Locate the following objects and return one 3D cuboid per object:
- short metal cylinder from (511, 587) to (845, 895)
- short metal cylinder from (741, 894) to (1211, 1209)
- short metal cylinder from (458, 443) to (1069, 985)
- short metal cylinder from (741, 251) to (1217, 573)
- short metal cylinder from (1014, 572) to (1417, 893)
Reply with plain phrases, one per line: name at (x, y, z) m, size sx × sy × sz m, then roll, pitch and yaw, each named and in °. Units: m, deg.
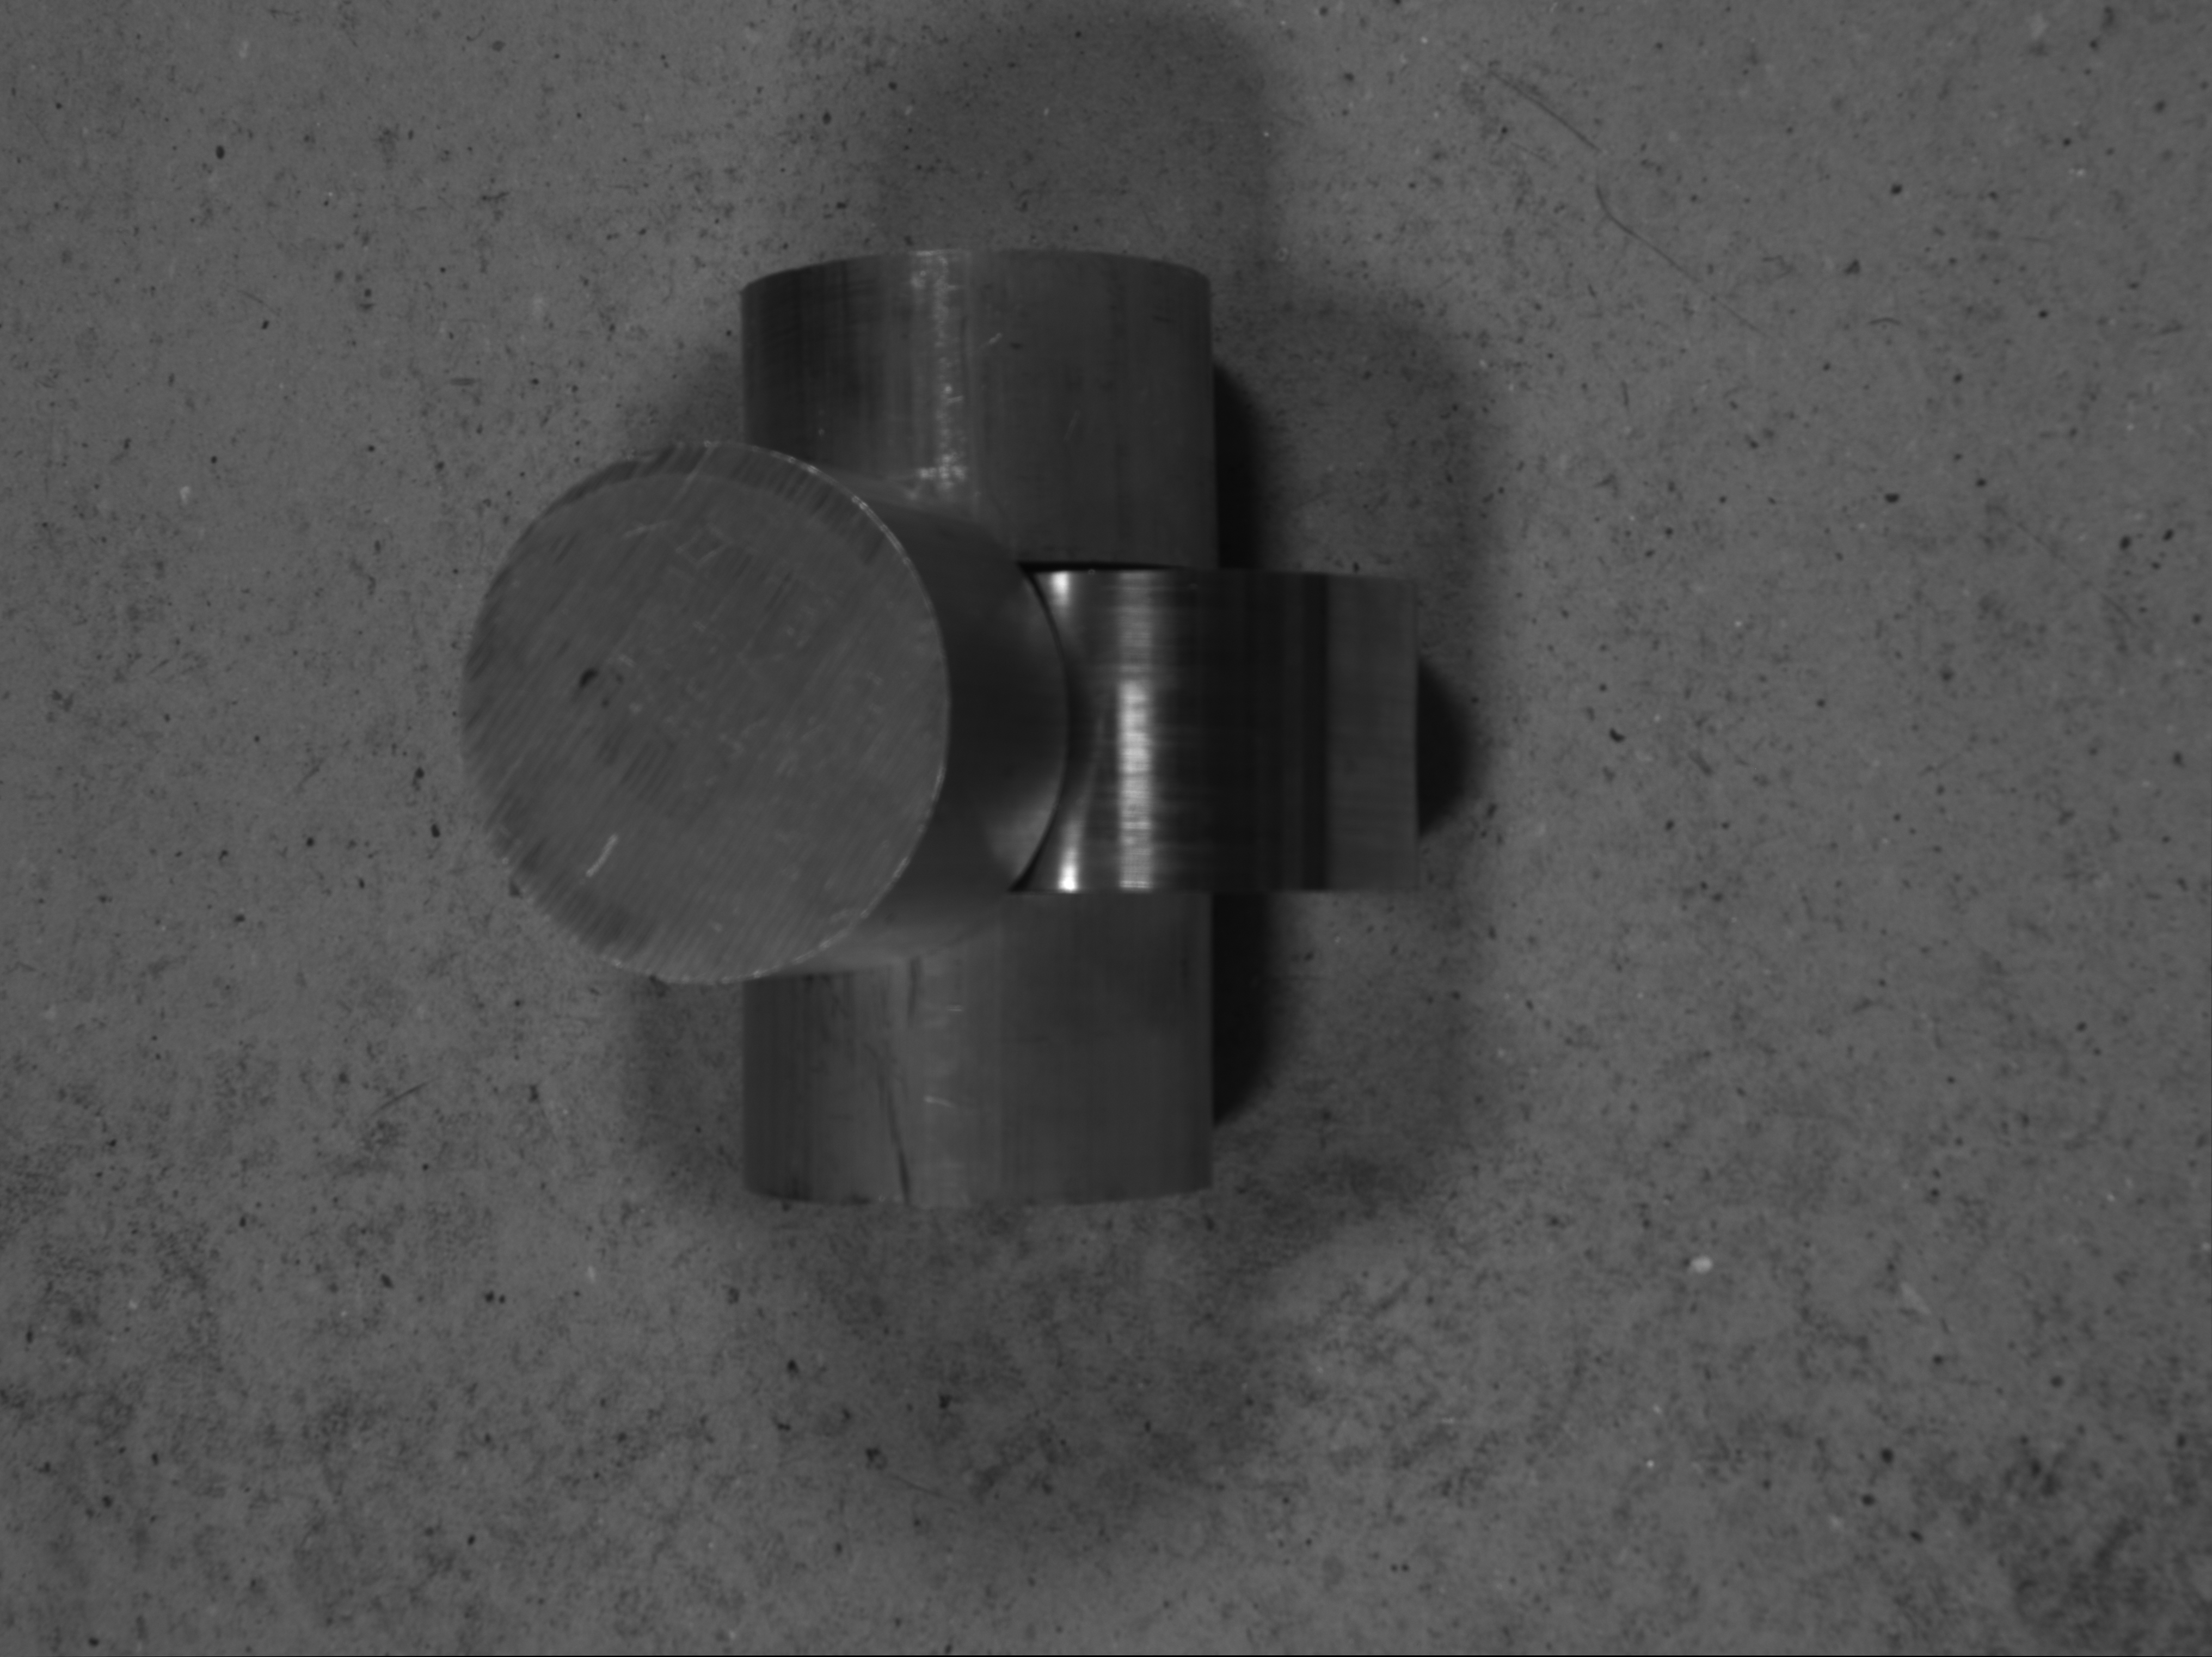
short metal cylinder at (-0.064, -0.014, 0.638) m, size 0.080 × 0.080 × 0.050 m, roll -1°, pitch 89°, yaw 20°
short metal cylinder at (-0.022, 0.036, 0.623) m, size 0.080 × 0.080 × 0.050 m, roll 0°, pitch 90°, yaw 20°
short metal cylinder at (-0.052, -0.017, 0.564) m, size 0.080 × 0.050 × 0.080 m, roll 0°, pitch 90°, yaw 20°
short metal cylinder at (-0.022, -0.066, 0.623) m, size 0.080 × 0.080 × 0.050 m, roll -2°, pitch 89°, yaw 20°
short metal cylinder at (0.012, -0.015, 0.611) m, size 0.080 × 0.080 × 0.050 m, roll 0°, pitch 90°, yaw 20°
